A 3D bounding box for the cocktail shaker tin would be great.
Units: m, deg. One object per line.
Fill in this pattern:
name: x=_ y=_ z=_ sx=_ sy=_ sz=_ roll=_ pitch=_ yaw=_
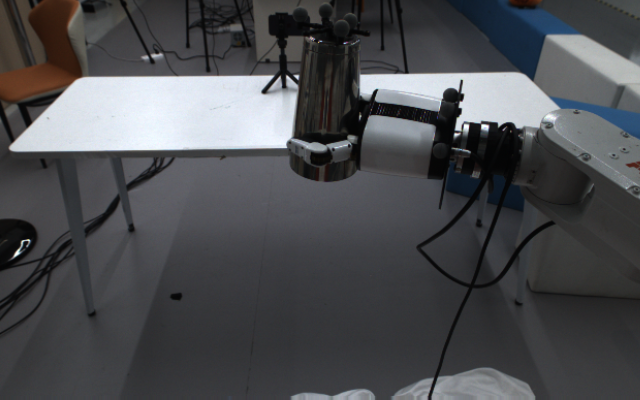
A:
cocktail shaker tin: x=0.011 y=-0.120 z=0.606 sx=0.093 sy=0.170 sz=0.093 roll=3 pitch=34 yaw=-2
